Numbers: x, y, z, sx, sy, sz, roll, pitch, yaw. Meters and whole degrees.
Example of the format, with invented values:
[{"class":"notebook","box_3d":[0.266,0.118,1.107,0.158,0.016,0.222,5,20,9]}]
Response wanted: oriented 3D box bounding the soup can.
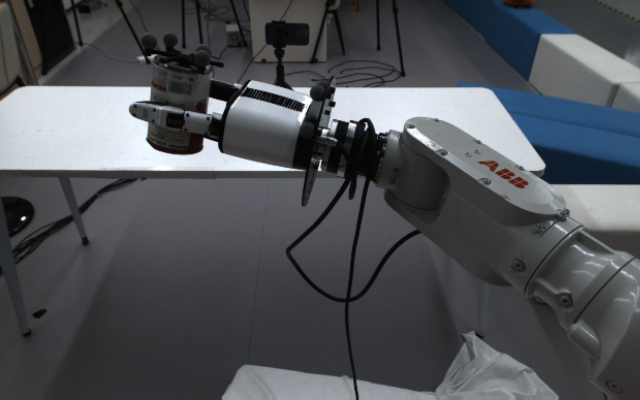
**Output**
[{"class":"soup can","box_3d":[-0.167,-0.112,0.577,0.067,0.101,0.067,12,25,-6]}]
